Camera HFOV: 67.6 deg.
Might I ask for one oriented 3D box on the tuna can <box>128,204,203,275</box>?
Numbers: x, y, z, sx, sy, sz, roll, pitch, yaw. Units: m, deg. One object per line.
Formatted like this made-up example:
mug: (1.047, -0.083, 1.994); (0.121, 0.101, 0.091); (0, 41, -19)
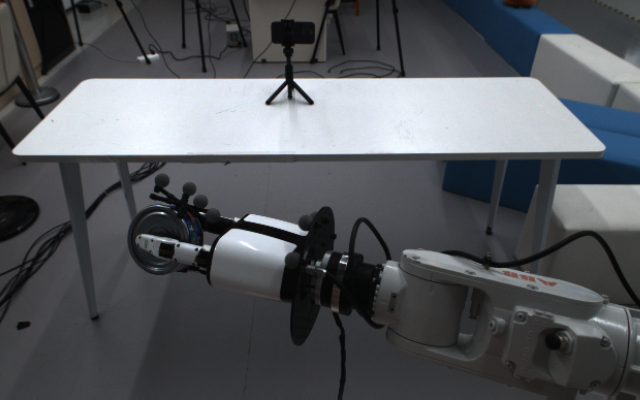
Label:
tuna can: (-0.185, 0.053, 0.584); (0.085, 0.085, 0.034); (12, 4, 15)
